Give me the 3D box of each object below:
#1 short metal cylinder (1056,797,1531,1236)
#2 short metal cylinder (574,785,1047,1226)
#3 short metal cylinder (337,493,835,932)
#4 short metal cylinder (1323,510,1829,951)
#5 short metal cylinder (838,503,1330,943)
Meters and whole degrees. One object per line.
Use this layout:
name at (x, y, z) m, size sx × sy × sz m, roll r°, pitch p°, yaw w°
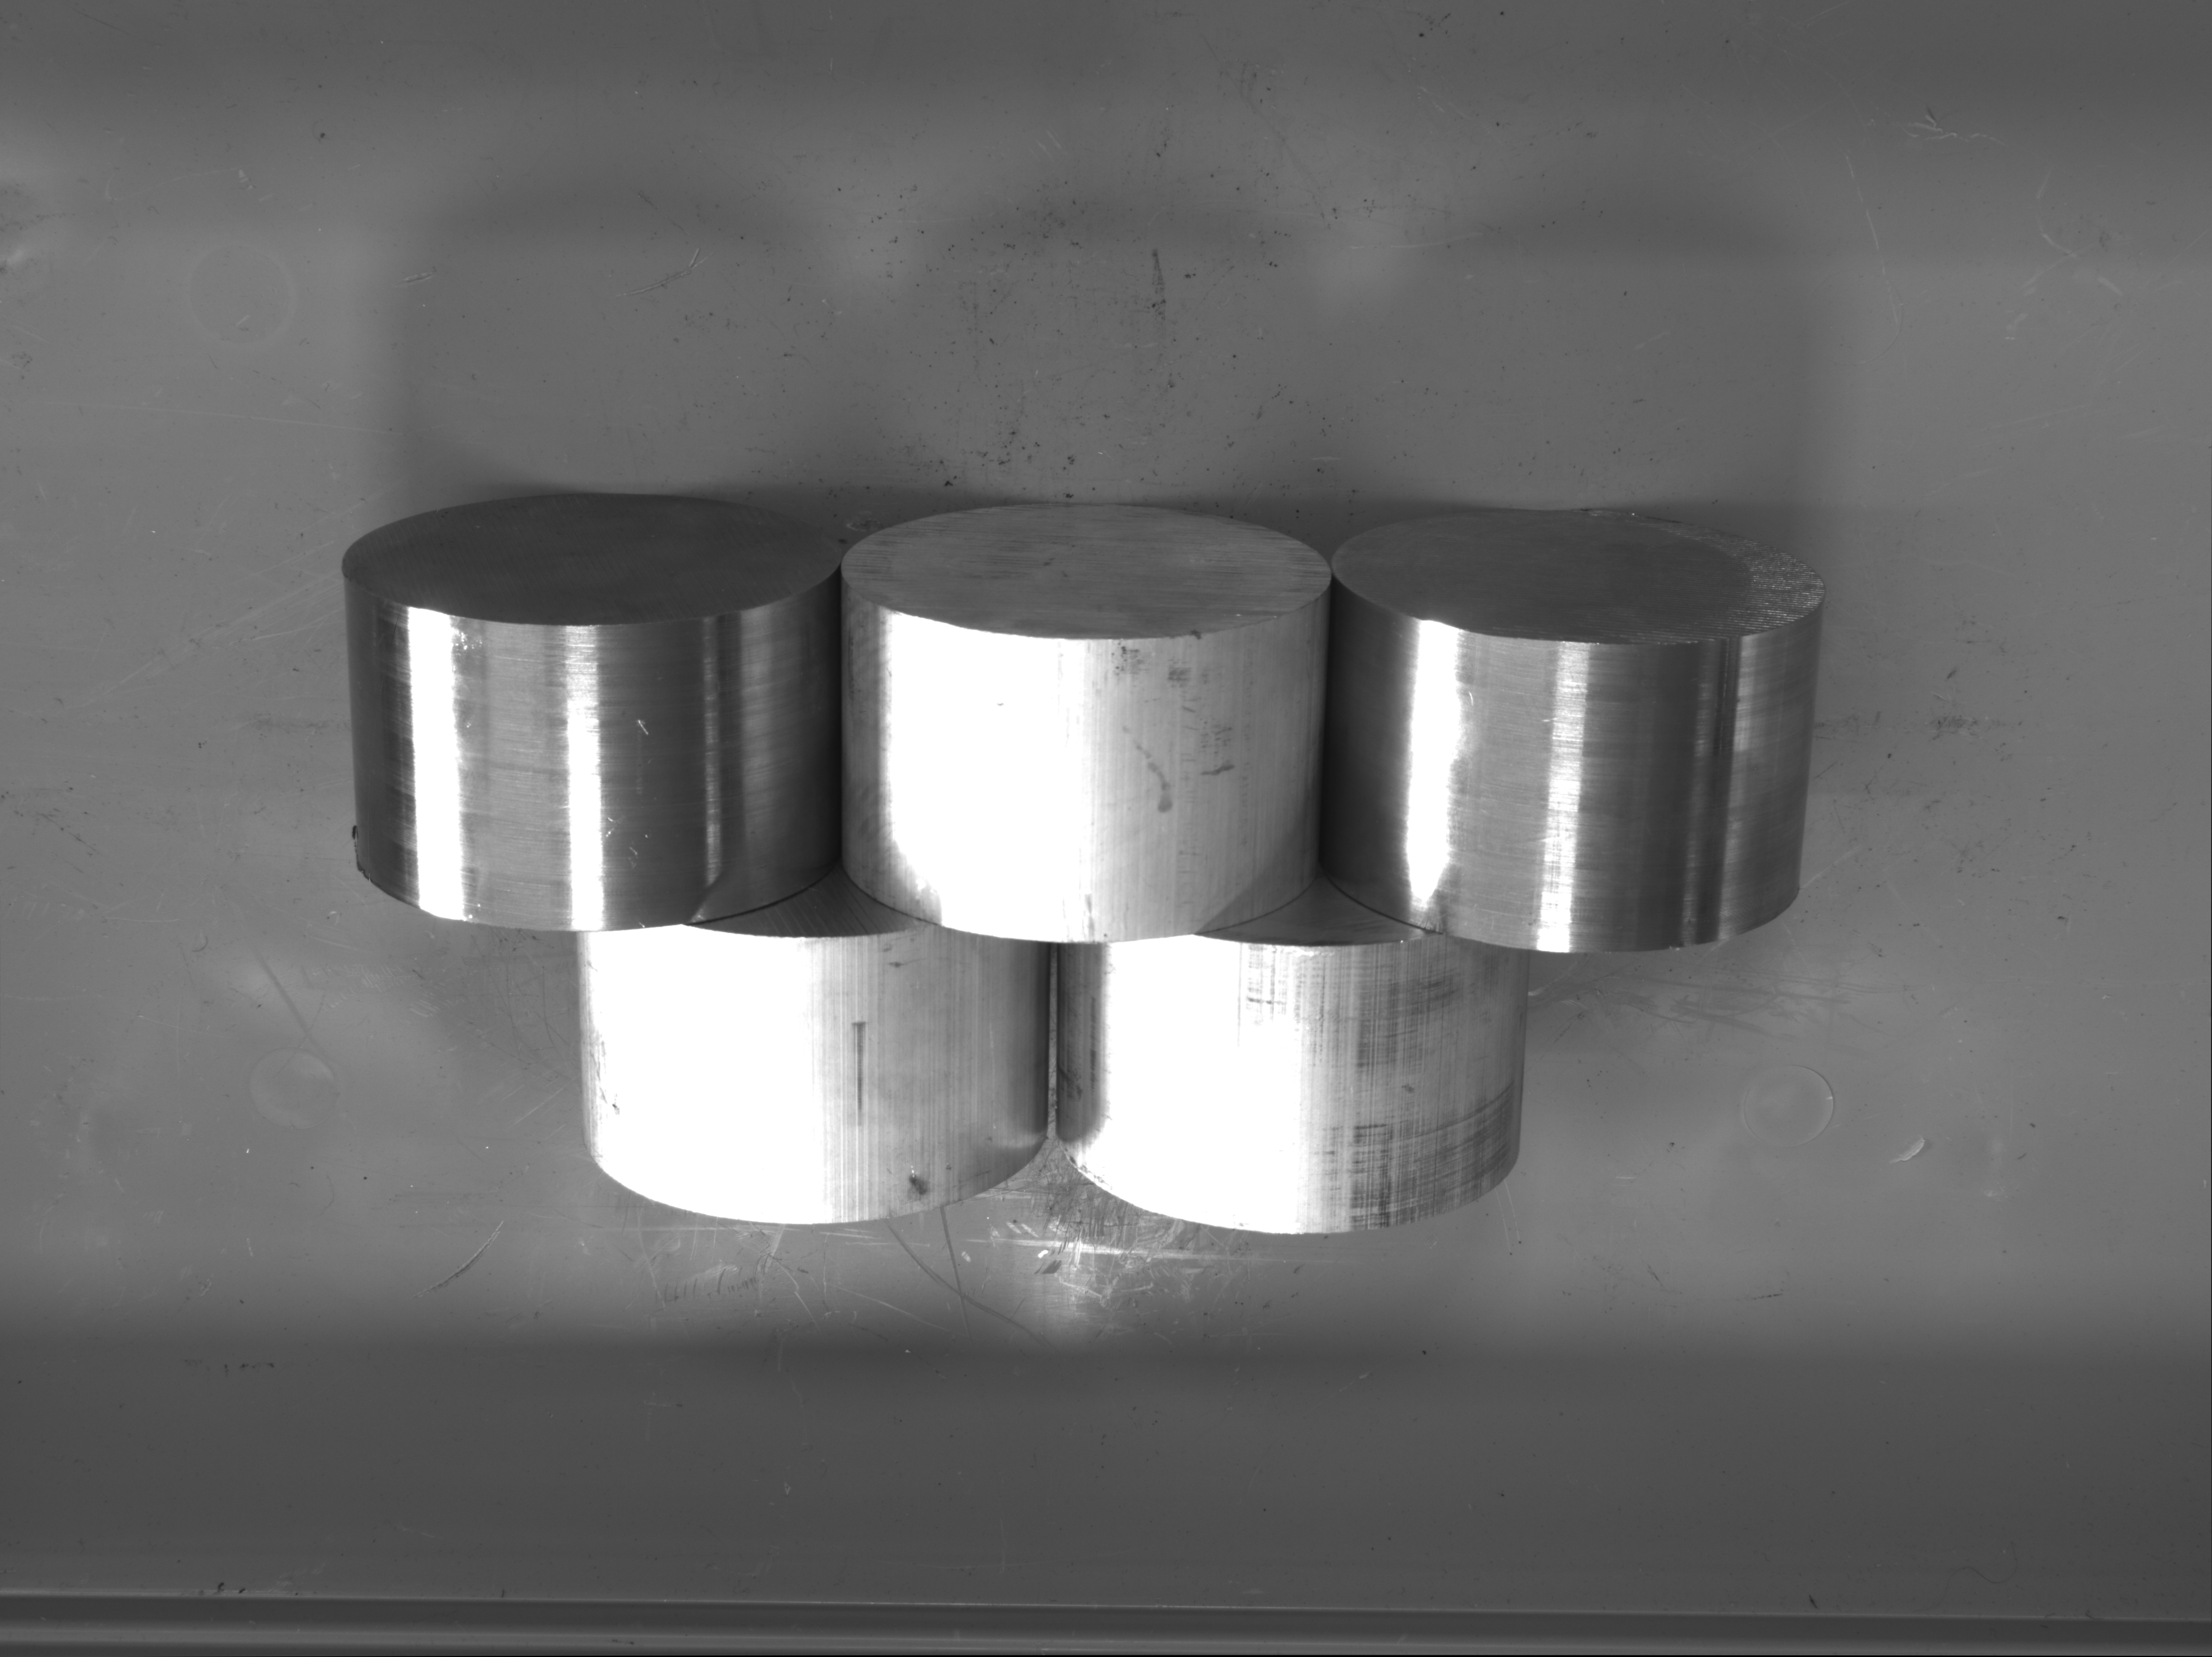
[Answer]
short metal cylinder at (0.032, 0.029, 0.624) m, size 0.080 × 0.080 × 0.050 m, roll 1°, pitch 110°, yaw 0°
short metal cylinder at (-0.050, 0.027, 0.623) m, size 0.080 × 0.080 × 0.050 m, roll 1°, pitch 110°, yaw 0°
short metal cylinder at (-0.084, -0.021, 0.605) m, size 0.080 × 0.080 × 0.050 m, roll 1°, pitch 110°, yaw 0°
short metal cylinder at (0.077, -0.018, 0.606) m, size 0.080 × 0.080 × 0.050 m, roll 2°, pitch 110°, yaw -1°
short metal cylinder at (-0.004, -0.019, 0.606) m, size 0.080 × 0.080 × 0.050 m, roll 1°, pitch 110°, yaw 0°
